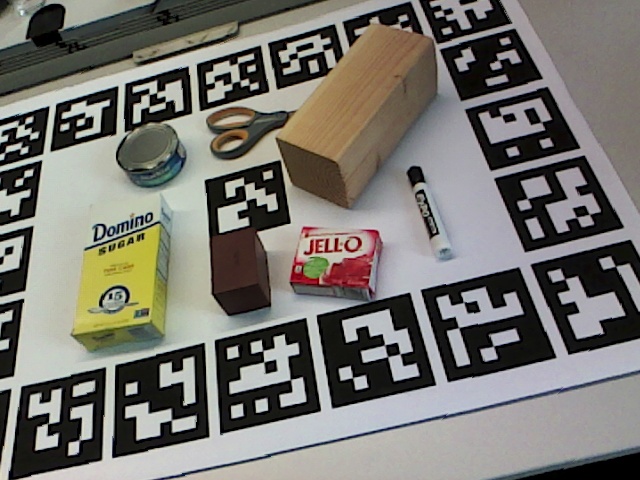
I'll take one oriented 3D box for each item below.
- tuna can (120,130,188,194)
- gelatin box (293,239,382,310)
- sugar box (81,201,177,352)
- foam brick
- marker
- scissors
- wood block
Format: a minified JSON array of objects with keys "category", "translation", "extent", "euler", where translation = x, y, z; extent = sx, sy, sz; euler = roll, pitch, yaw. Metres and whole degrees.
[{"category":"tuna can","translation":[-0.224,-0.105,0.837],"extent":[0.086,0.033,0.086],"euler":[-7,58,11]},{"category":"gelatin box","translation":[0.021,0.037,0.689],"extent":[0.090,0.030,0.073],"euler":[3,61,17]},{"category":"sugar box","translation":[-0.226,0.040,0.746],"extent":[0.093,0.045,0.177],"euler":[-10,57,8]},{"category":"foam brick","translation":[-0.084,0.046,0.694],"extent":[0.053,0.051,0.078],"euler":[-12,58,8]},{"category":"marker","translation":[0.121,-0.020,0.701],"extent":[0.020,0.019,0.121],"euler":[-13,59,7]},{"category":"scissors","translation":[-0.055,-0.147,0.831],"extent":[0.203,0.016,0.088],"euler":[-8,58,13]},{"category":"wood block","translation":[0.060,-0.139,0.755],"extent":[0.090,0.090,0.206],"euler":[27,68,28]}]
